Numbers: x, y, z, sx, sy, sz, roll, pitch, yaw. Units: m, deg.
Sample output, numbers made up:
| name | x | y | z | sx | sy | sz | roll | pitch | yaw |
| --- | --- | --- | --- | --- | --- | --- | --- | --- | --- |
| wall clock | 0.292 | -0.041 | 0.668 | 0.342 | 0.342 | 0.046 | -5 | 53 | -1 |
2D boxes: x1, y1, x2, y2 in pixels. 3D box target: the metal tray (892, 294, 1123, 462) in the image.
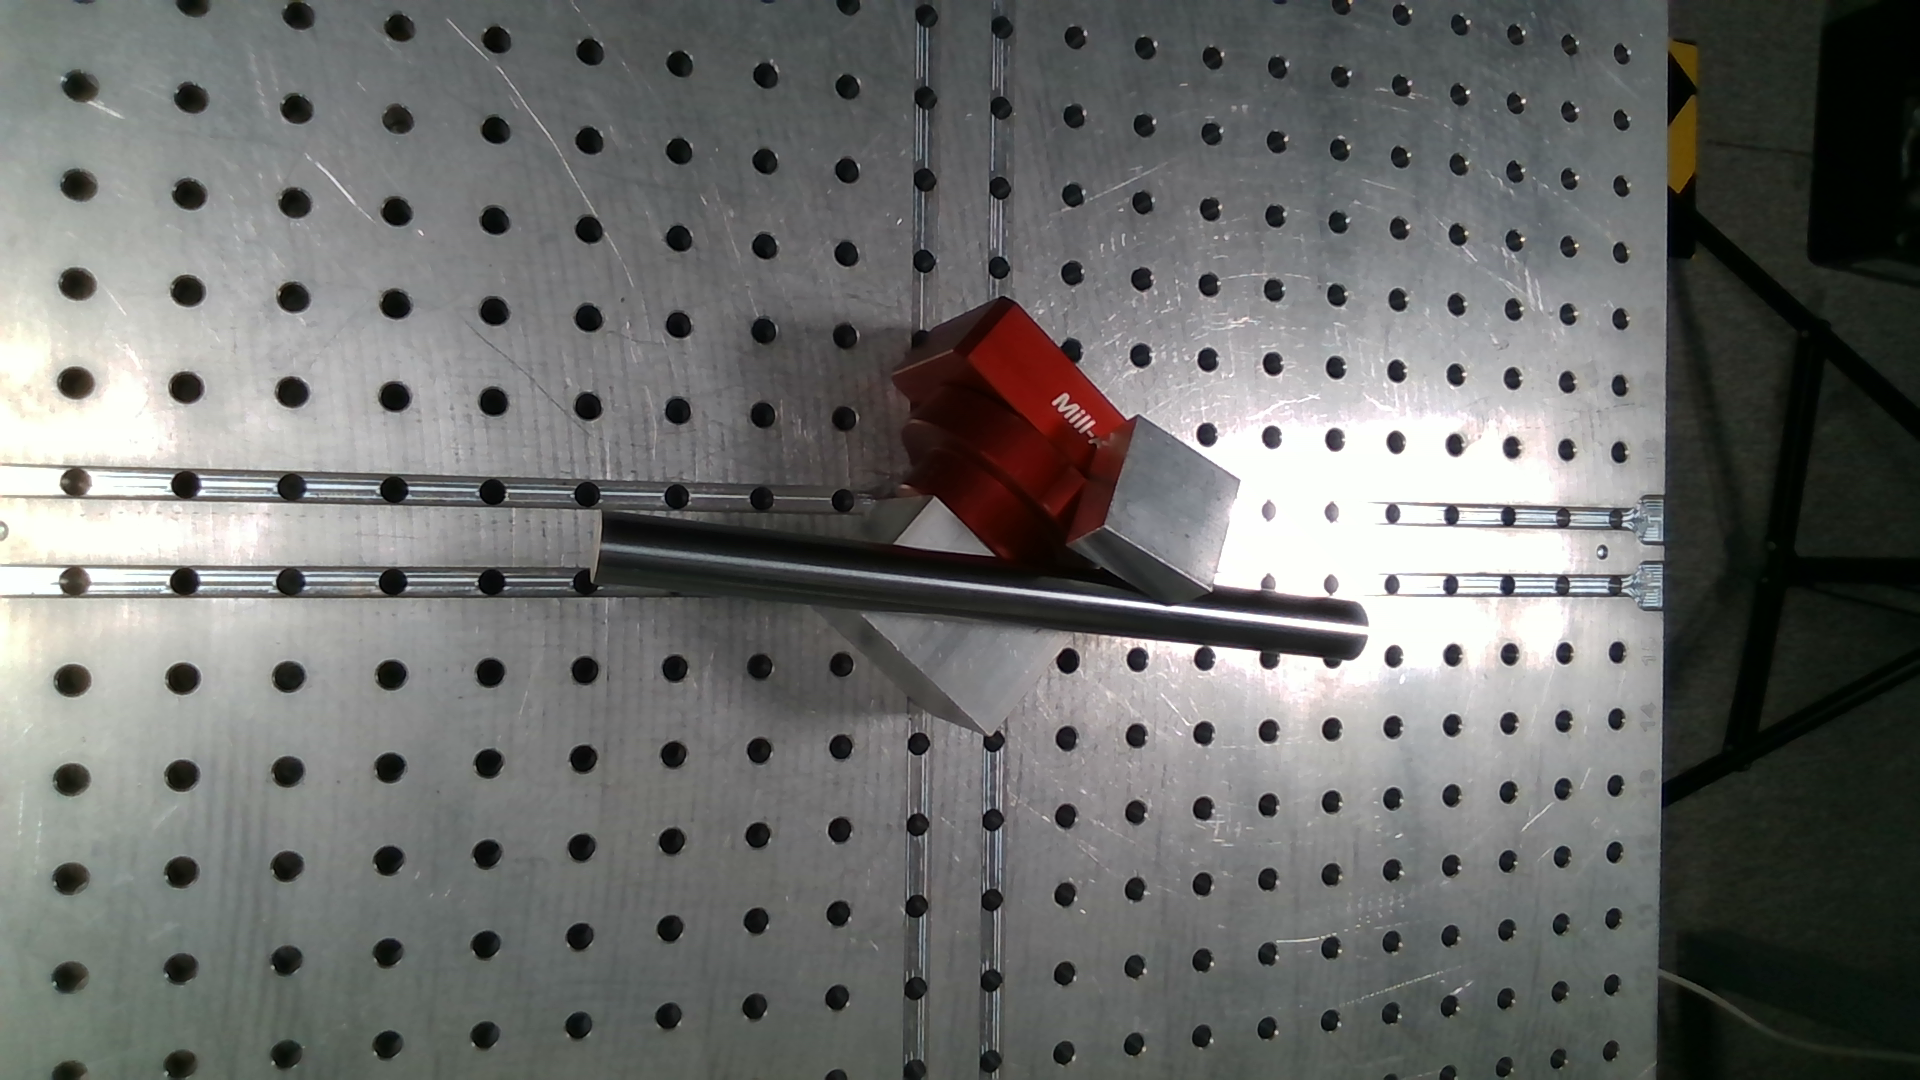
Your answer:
| name | x | y | z | sx | sy | sz | roll | pitch | yaw |
| --- | --- | --- | --- | --- | --- | --- | --- | --- | --- |
| metal tray | 0.038 | -0.038 | 0.568 | 0.130 | 0.090 | 0.030 | 45 | 76 | -15 |

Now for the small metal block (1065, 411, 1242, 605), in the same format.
| name | x | y | z | sx | sy | sz | roll | pitch | yaw |
| --- | --- | --- | --- | --- | --- | --- | --- | --- | --- |
| small metal block | 0.072 | -0.011 | 0.511 | 0.050 | 0.025 | 0.050 | 30 | 61 | -19 |

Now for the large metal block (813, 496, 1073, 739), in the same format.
| name | x | y | z | sx | sy | sz | roll | pitch | yaw |
| --- | --- | --- | --- | --- | --- | --- | --- | --- | --- |
| large metal block | -0.013 | 0.029 | 0.551 | 0.080 | 0.080 | 0.050 | 45 | 76 | -15 |

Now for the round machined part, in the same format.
| name | x | y | z | sx | sy | sz | roll | pitch | yaw |
| --- | --- | --- | --- | --- | --- | --- | --- | --- | --- |
| round machined part | 0.014 | -0.015 | 0.559 | 0.098 | 0.098 | 0.042 | 44 | 76 | -15 |

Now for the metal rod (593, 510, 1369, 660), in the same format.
| name | x | y | z | sx | sy | sz | roll | pitch | yaw |
| --- | --- | --- | --- | --- | --- | --- | --- | --- | --- |
| metal rod | 0.019 | 0.020 | 0.510 | 0.300 | 0.025 | 0.025 | 7 | 88 | -20 |
